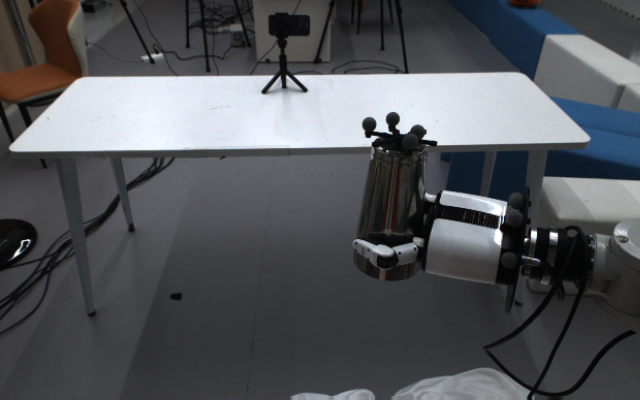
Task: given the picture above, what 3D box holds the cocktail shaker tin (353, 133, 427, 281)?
[{"bbox_3d":[0.095,0.008,0.624,0.093,0.170,0.093,1,28,-1],"label":"cocktail shaker tin"}]
